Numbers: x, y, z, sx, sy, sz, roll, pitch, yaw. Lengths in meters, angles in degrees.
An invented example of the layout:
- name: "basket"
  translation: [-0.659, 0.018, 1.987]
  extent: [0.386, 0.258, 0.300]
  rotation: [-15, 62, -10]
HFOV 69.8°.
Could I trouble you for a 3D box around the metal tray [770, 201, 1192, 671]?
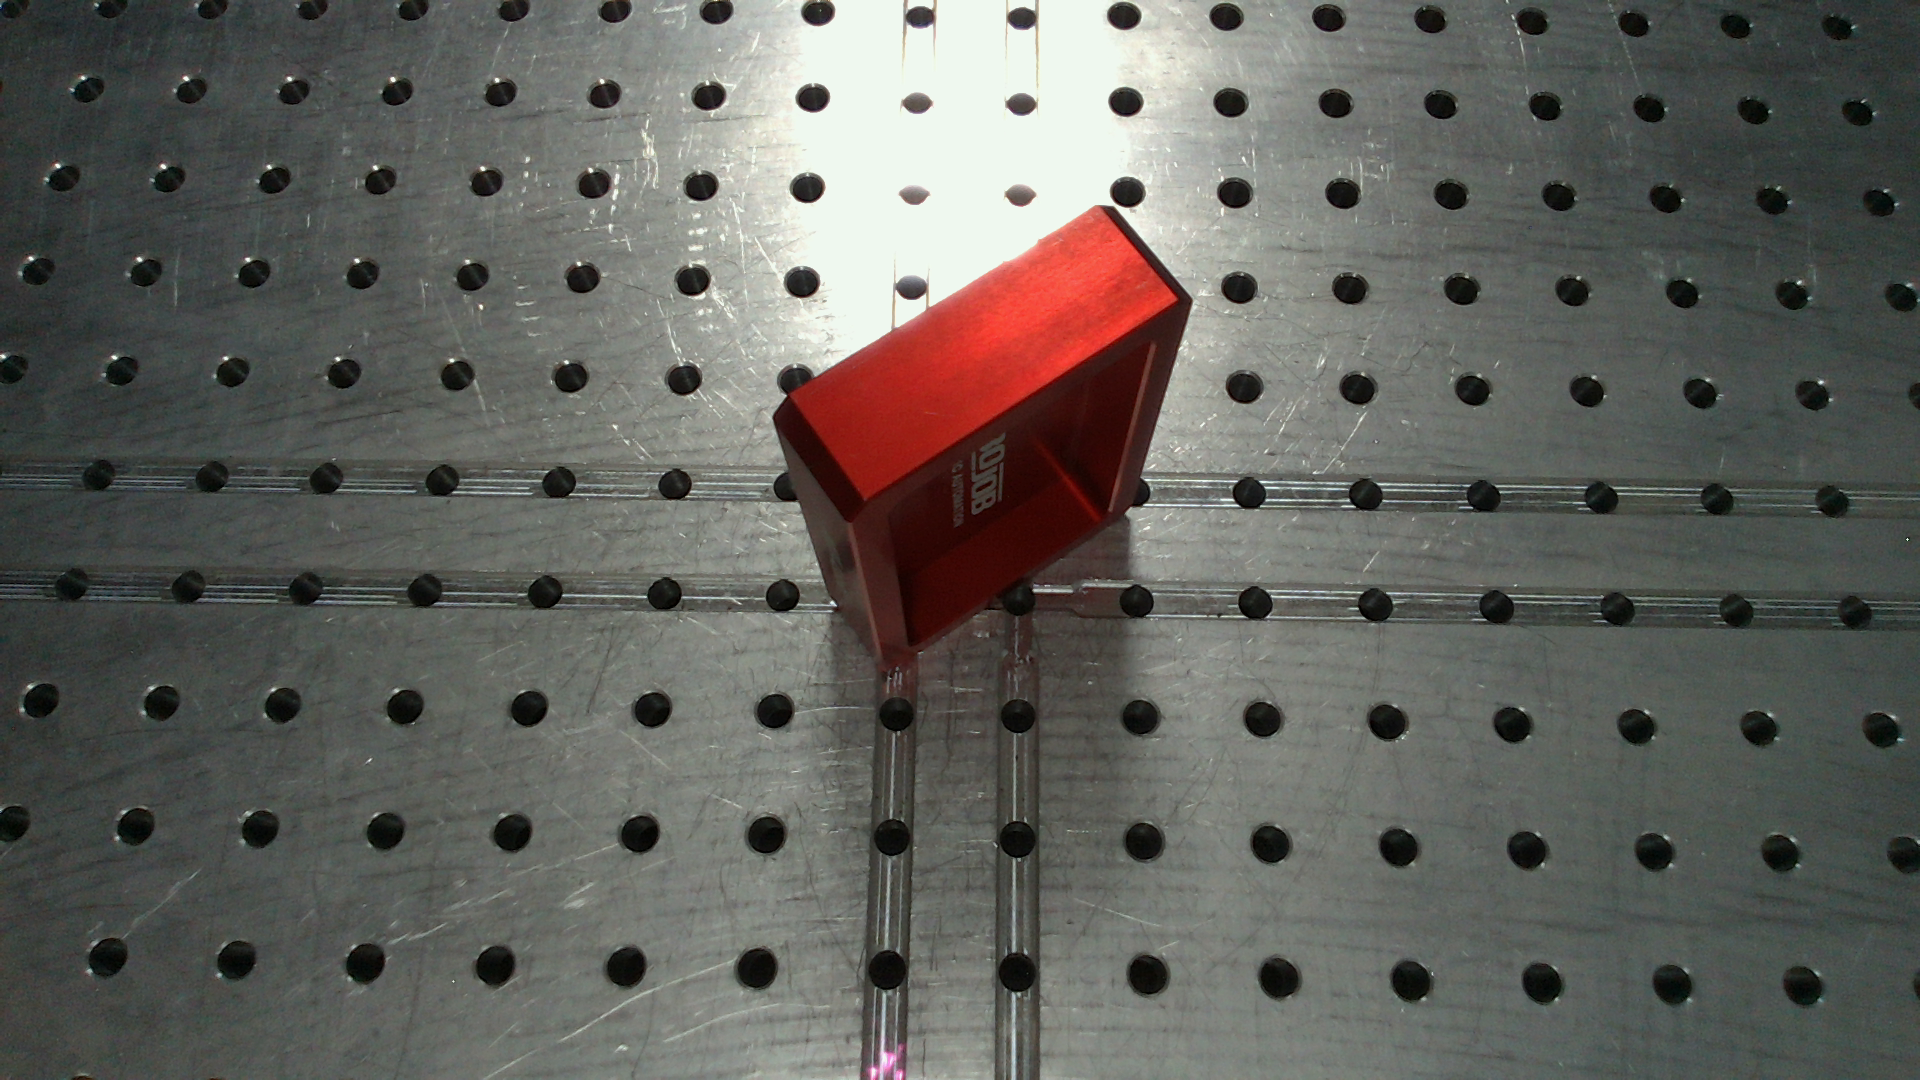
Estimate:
- name: "metal tray"
  translation: [0.006, -0.019, 0.348]
  extent: [0.090, 0.130, 0.030]
  rotation: [-33, 73, -11]
